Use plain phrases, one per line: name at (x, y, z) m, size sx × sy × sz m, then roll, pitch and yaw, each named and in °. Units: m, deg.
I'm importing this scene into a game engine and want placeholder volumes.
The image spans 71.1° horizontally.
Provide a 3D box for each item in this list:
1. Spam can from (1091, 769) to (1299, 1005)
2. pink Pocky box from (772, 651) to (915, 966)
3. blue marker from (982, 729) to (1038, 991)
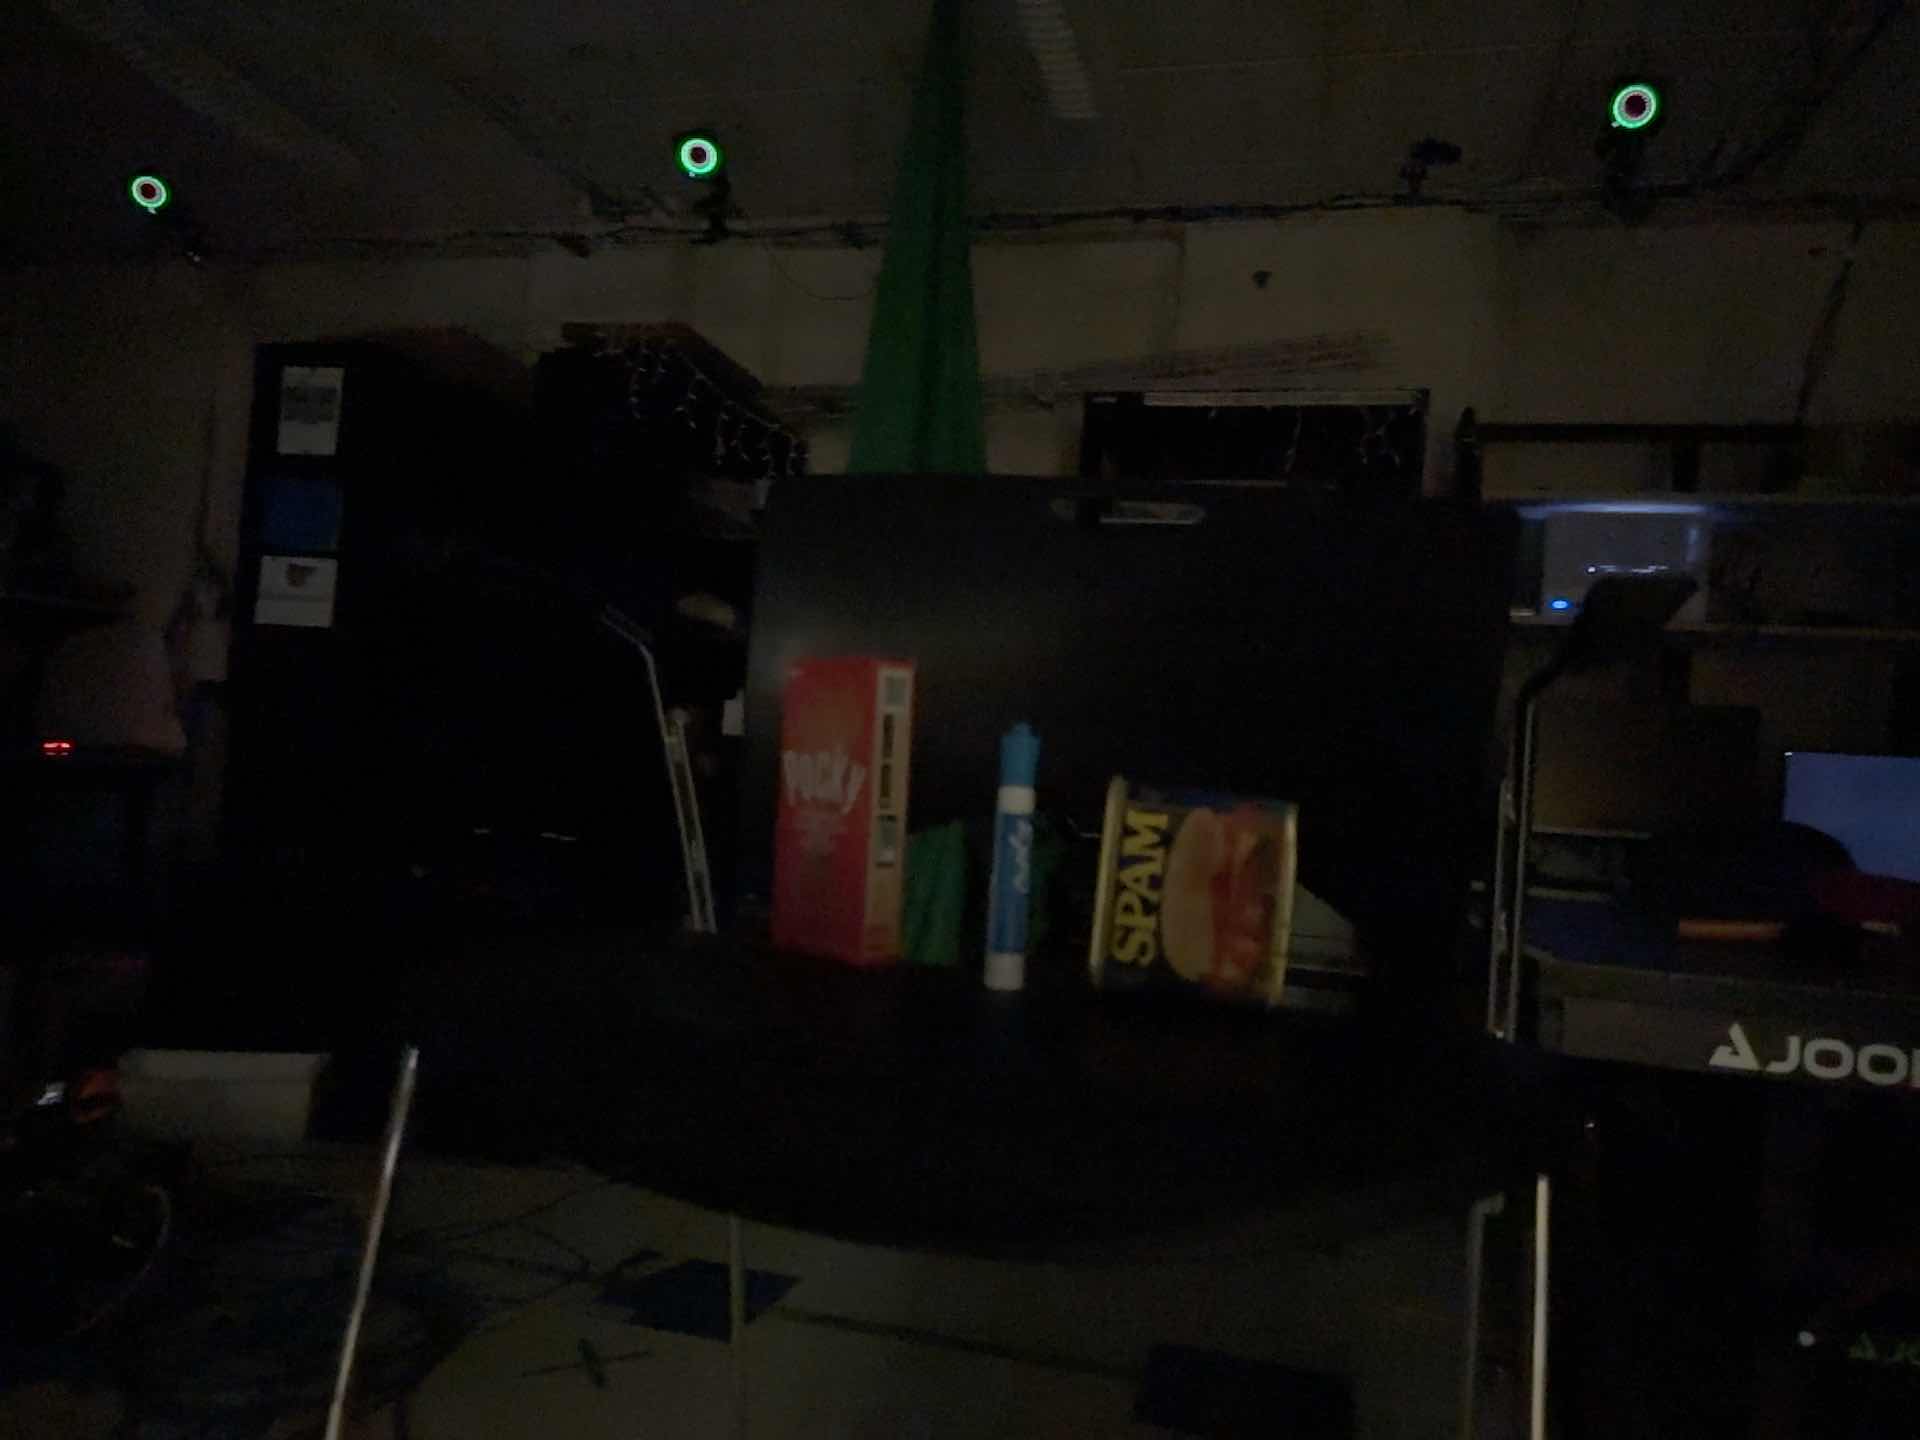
Spam can at (0.108, 0.078, 0.622) m, size 0.083 × 0.100 × 0.056 m, roll 6°, pitch -1°, yaw 8°
pink Pocky box at (-0.062, 0.043, 0.689) m, size 0.029 × 0.155 × 0.084 m, roll 3°, pitch -1°, yaw -40°
blue marker at (0.023, 0.065, 0.629) m, size 0.020 × 0.121 × 0.020 m, roll 4°, pitch 1°, yaw 0°
